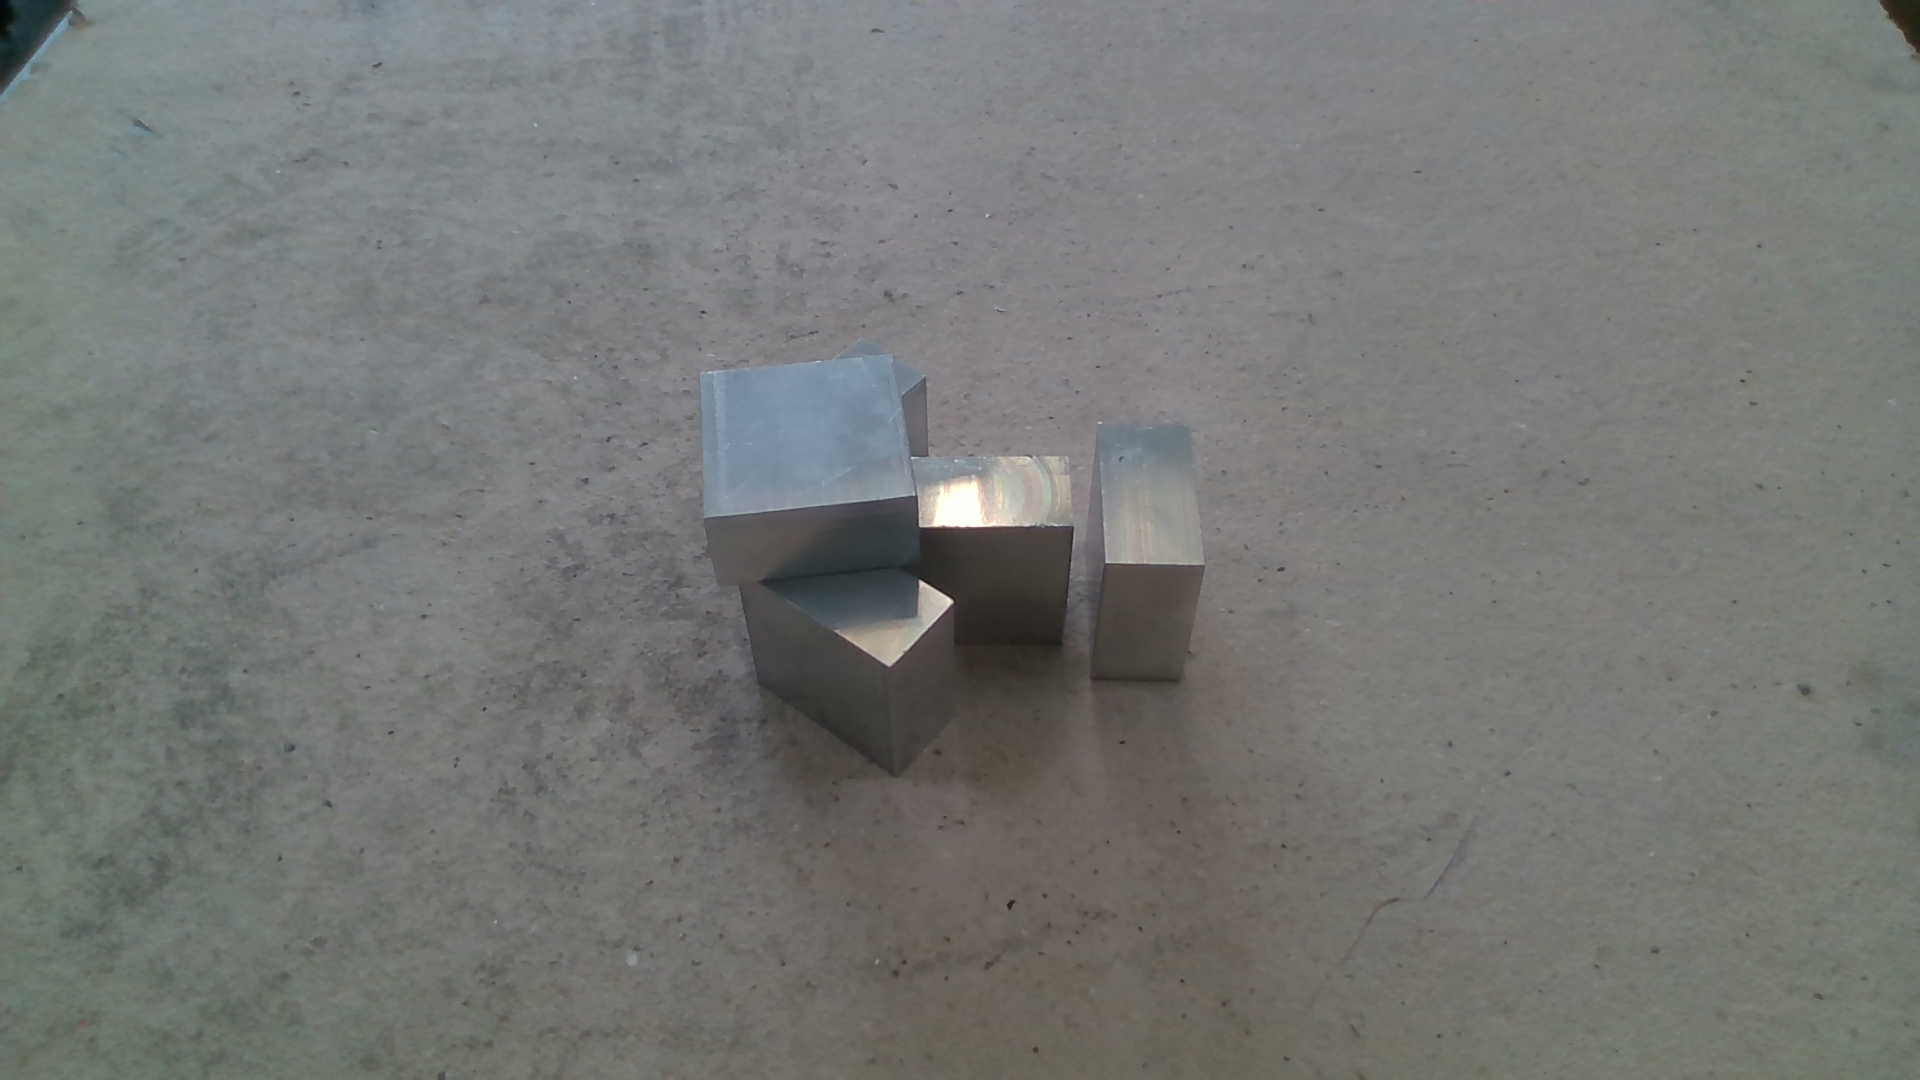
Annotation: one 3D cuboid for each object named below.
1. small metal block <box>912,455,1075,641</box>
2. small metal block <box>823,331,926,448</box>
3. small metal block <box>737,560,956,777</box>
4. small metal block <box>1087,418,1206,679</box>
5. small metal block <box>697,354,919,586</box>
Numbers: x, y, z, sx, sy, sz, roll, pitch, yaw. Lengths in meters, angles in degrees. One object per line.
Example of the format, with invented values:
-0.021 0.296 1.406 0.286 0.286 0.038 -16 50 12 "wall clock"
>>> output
0.004 0.003 0.376 0.050 0.050 0.025 0 51 -1 "small metal block"
-0.035 -0.023 0.396 0.025 0.050 0.050 33 59 24 "small metal block"
-0.029 0.027 0.356 0.050 0.050 0.025 30 56 23 "small metal block"
0.049 0.003 0.375 0.025 0.050 0.050 1 50 1 "small metal block"
-0.038 -0.018 0.345 0.050 0.025 0.050 -6 50 -6 "small metal block"
